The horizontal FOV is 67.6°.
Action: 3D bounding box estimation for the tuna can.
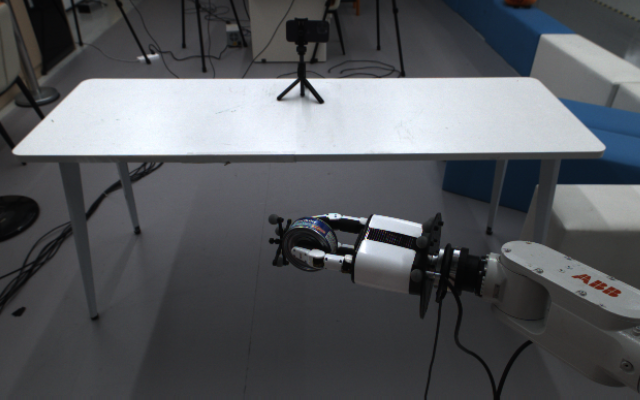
[{"bbox_3d":[-0.015,0.070,0.773,0.085,0.085,0.034,12,28,14],"label":"tuna can"}]
